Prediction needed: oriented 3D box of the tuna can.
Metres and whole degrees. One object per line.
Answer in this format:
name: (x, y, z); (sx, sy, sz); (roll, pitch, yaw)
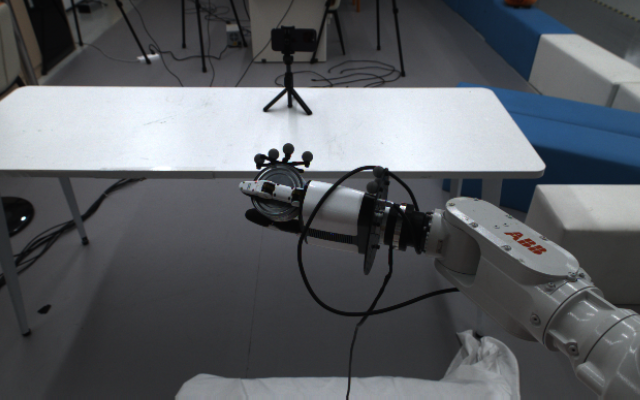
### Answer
tuna can: (-0.062, -0.010, 0.744); (0.085, 0.034, 0.085); (-5, 70, 14)
